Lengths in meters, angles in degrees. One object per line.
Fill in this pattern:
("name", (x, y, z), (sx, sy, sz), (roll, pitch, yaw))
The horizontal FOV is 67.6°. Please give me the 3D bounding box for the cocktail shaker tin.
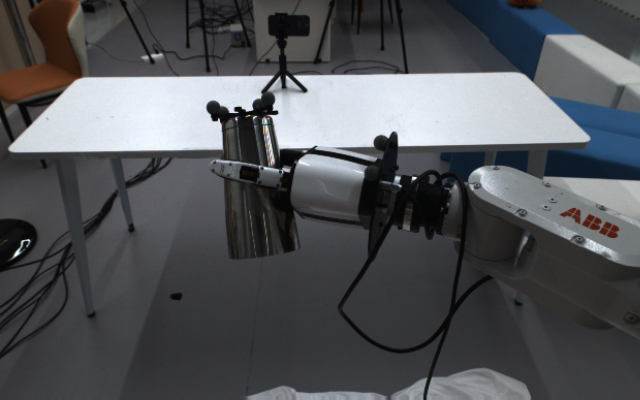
("cocktail shaker tin", (-0.081, -0.016, 0.617), (0.093, 0.170, 0.093), (-8, 1, 0))
